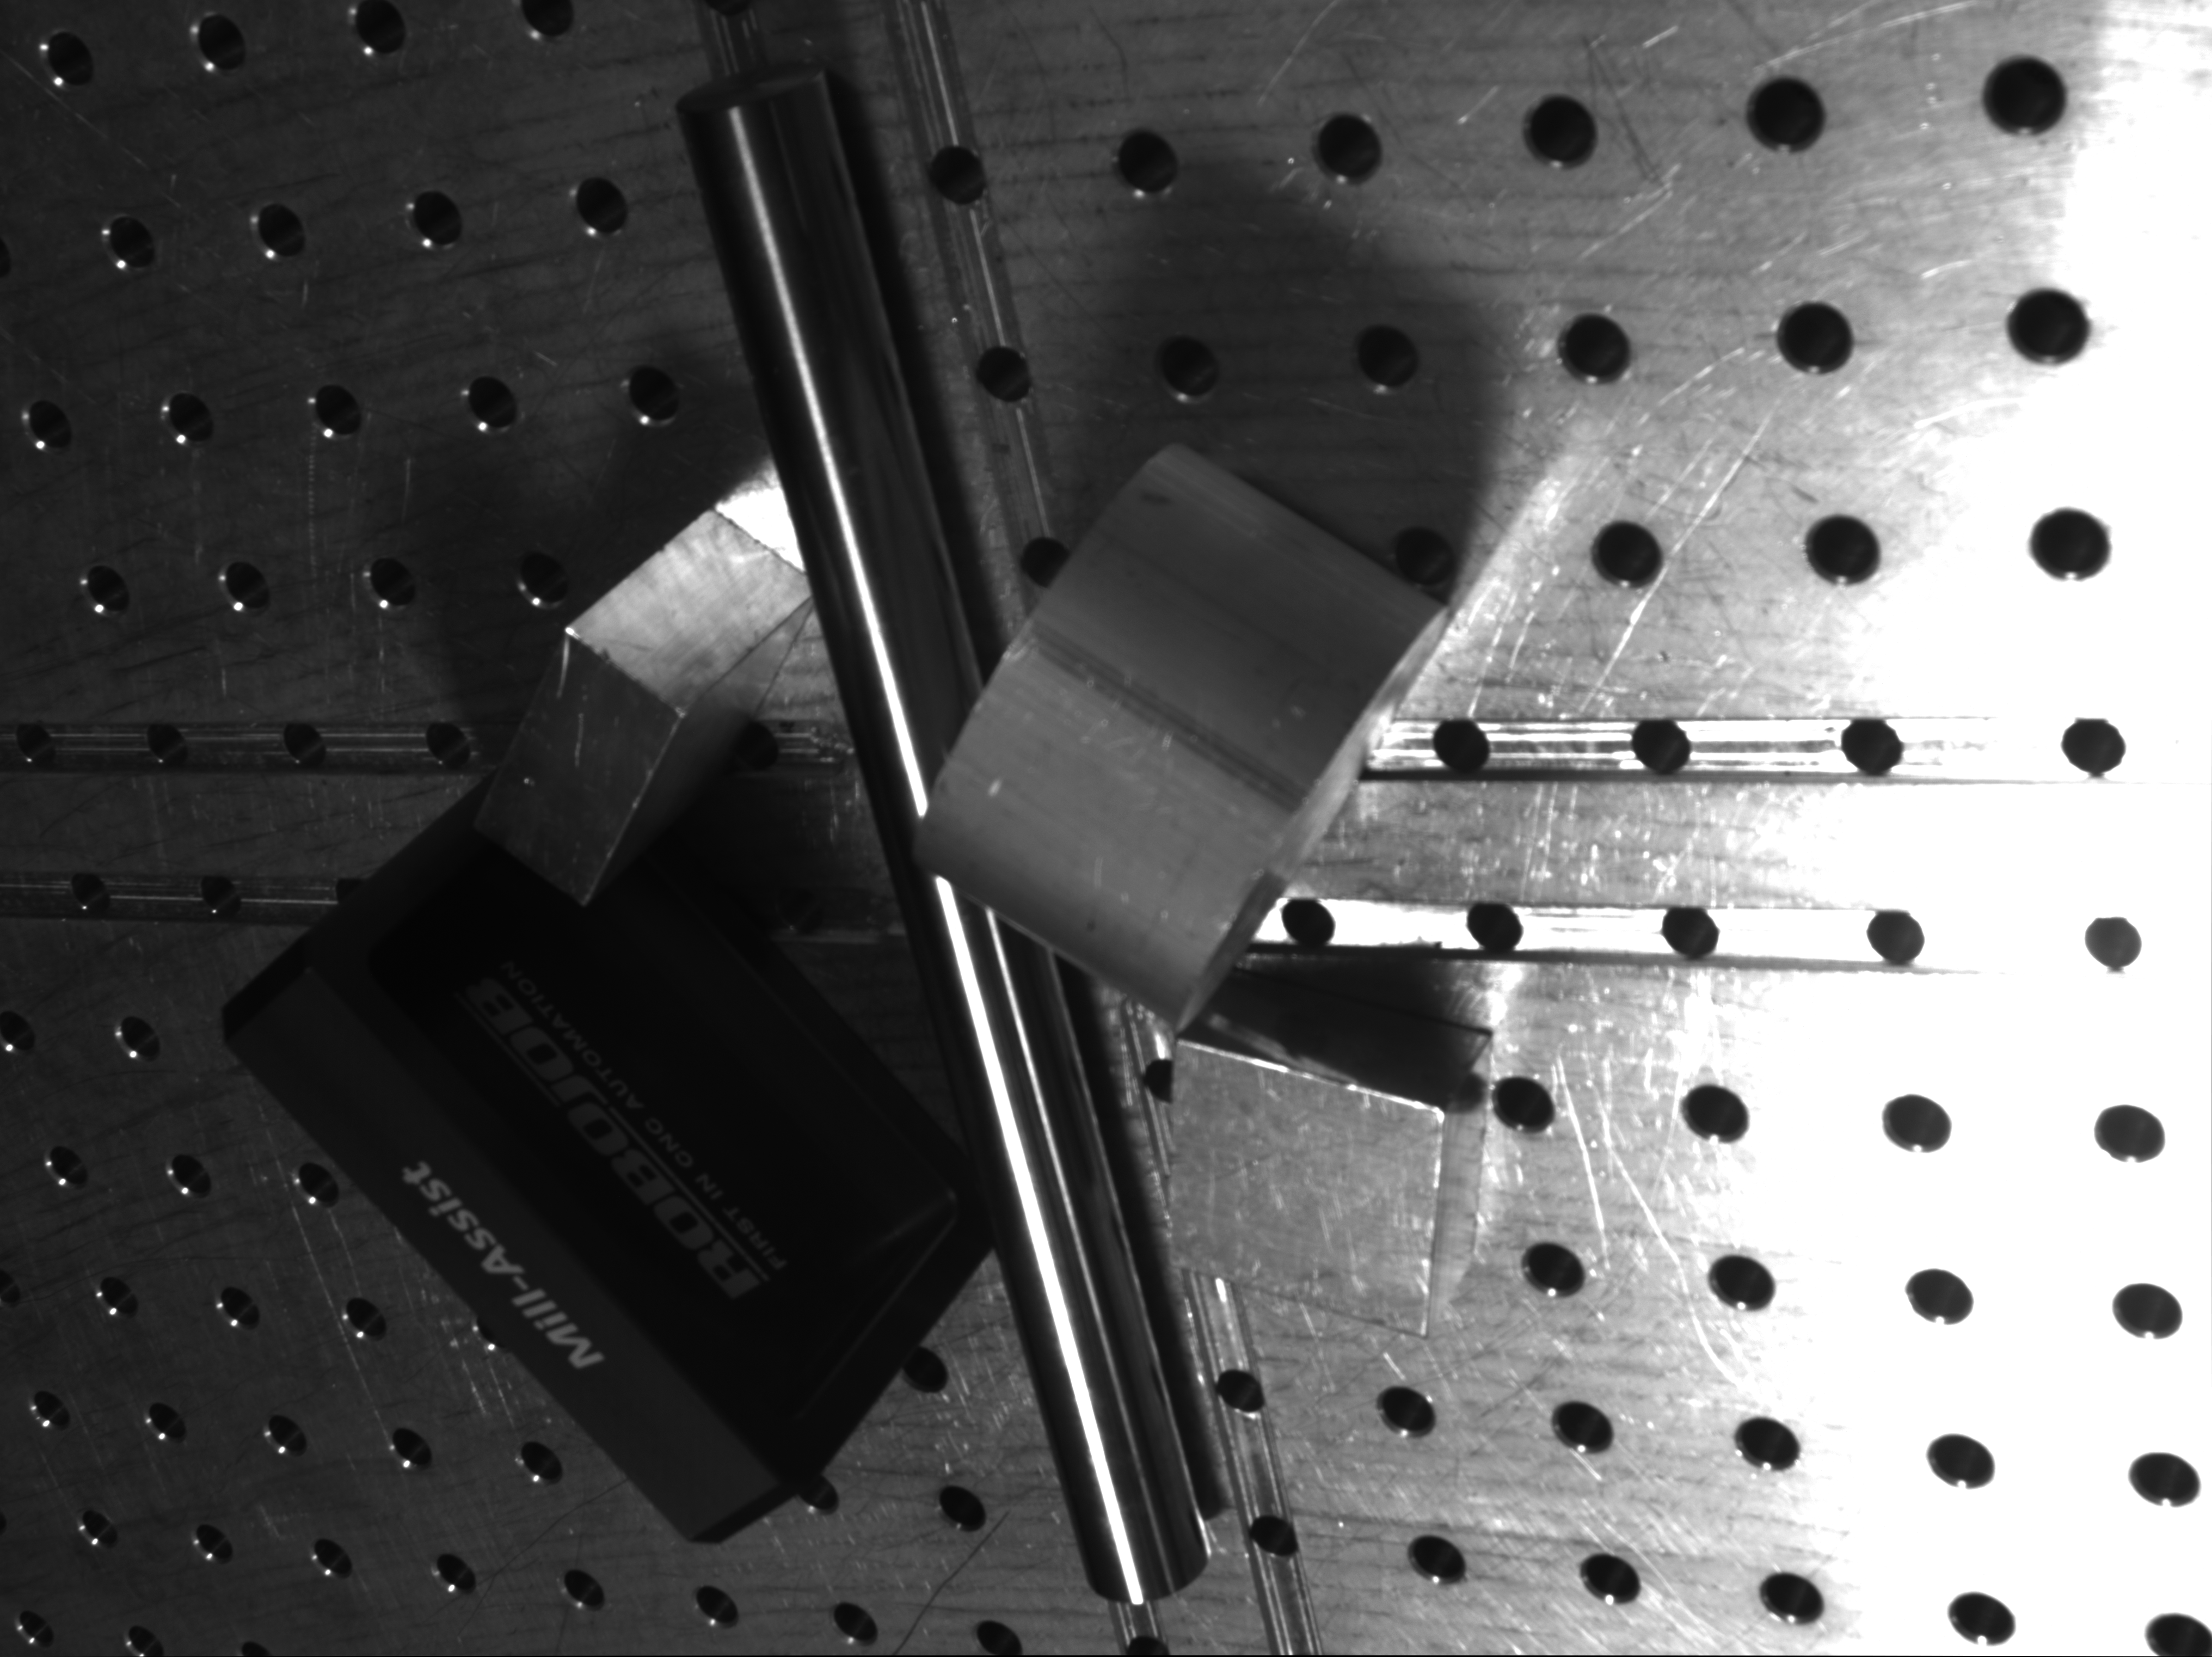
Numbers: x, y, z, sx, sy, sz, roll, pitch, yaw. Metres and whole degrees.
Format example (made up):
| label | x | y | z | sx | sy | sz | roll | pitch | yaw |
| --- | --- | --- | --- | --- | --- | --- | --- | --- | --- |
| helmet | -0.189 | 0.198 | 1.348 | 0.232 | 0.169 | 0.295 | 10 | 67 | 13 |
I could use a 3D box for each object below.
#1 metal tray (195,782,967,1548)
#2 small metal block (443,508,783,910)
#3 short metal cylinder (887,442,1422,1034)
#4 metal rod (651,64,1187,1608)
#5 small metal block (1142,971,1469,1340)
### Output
| label | x | y | z | sx | sy | sz | roll | pitch | yaw |
| --- | --- | --- | --- | --- | --- | --- | --- | --- | --- |
| metal tray | -0.092 | 0.055 | 0.671 | 0.130 | 0.090 | 0.030 | 48 | 128 | -7 |
| small metal block | -0.086 | -0.021 | 0.647 | 0.025 | 0.050 | 0.050 | 36 | 128 | 4 |
| short metal cylinder | 0.008 | -0.014 | 0.586 | 0.050 | 0.080 | 0.080 | 33 | 128 | 6 |
| metal rod | -0.029 | 0.013 | 0.655 | 0.025 | 0.025 | 0.300 | 0 | 118 | 27 |
| small metal block | 0.035 | 0.058 | 0.652 | 0.050 | 0.025 | 0.050 | 14 | 124 | 19 |
